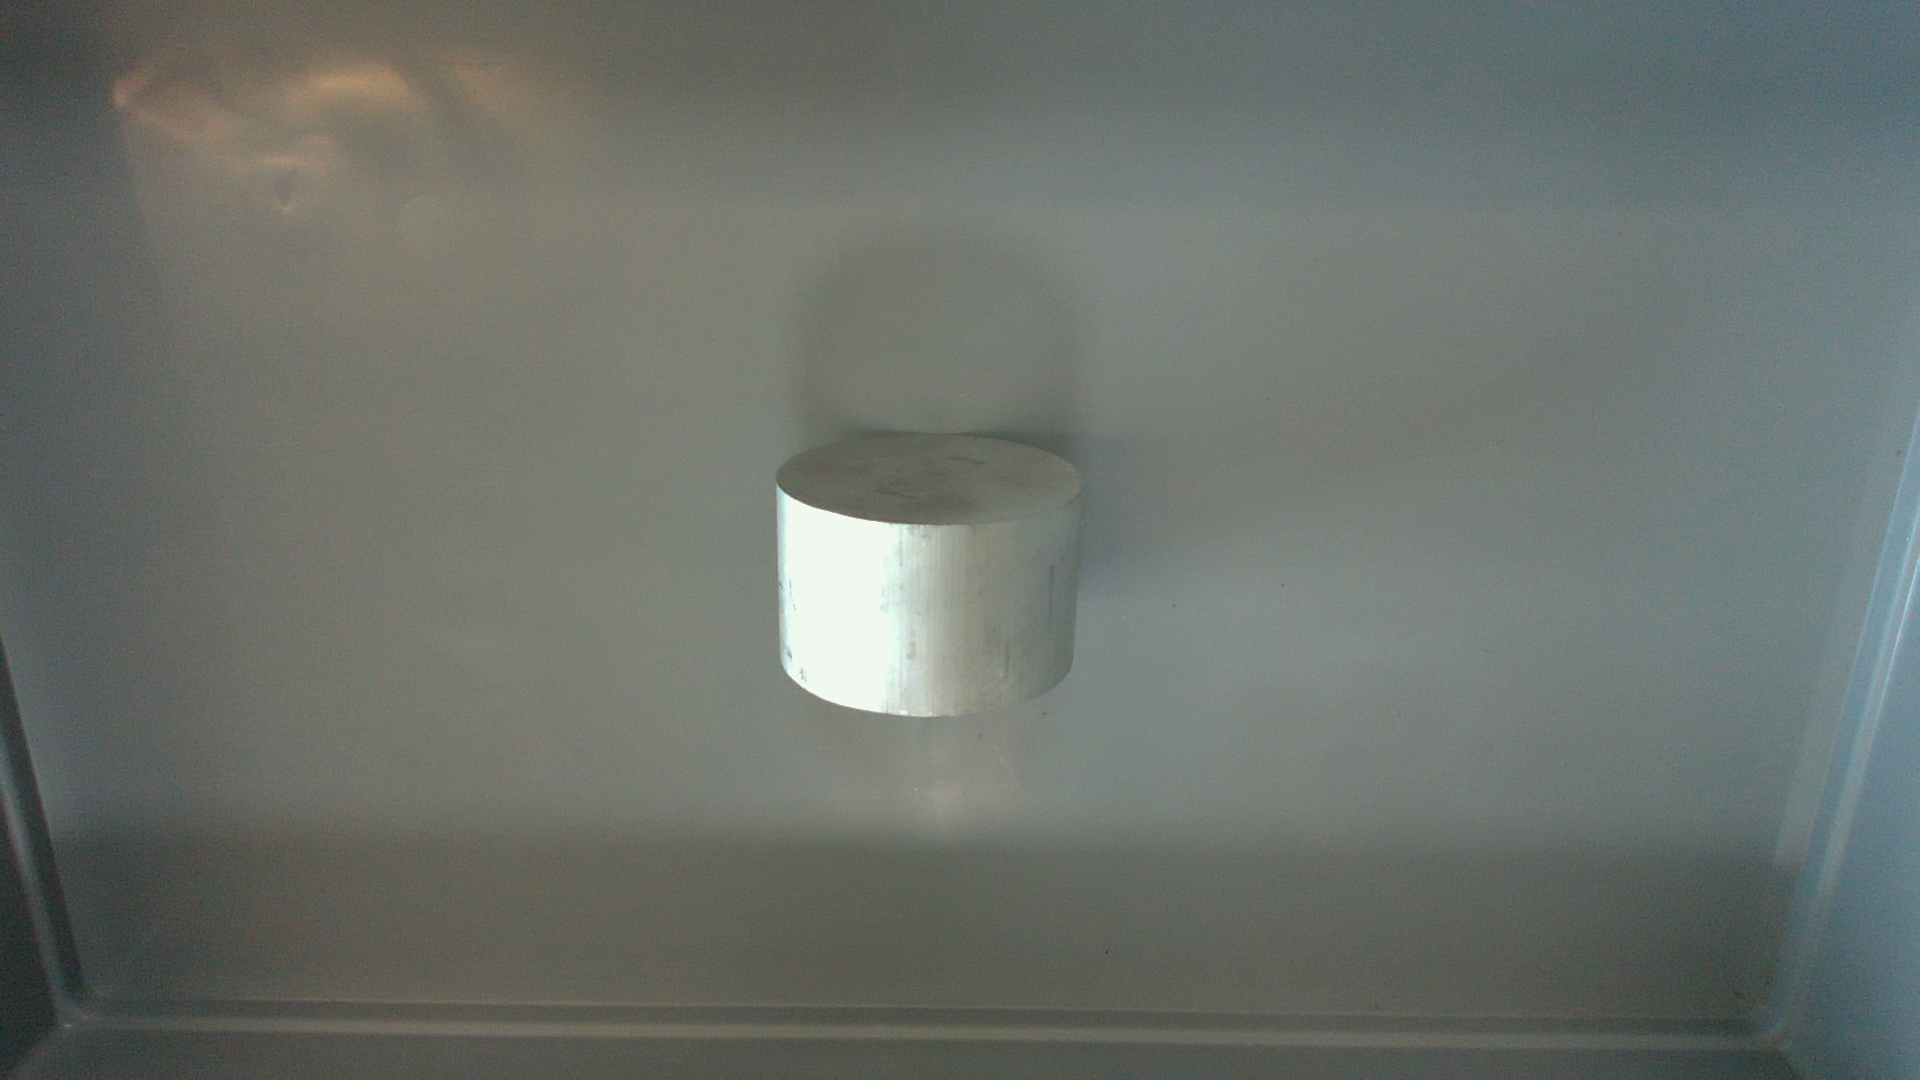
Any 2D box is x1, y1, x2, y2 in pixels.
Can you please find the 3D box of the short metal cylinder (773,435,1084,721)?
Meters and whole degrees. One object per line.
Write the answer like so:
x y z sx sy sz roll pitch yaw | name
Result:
-0.009 0.007 0.364 0.080 0.080 0.050 2 110 -1 | short metal cylinder
